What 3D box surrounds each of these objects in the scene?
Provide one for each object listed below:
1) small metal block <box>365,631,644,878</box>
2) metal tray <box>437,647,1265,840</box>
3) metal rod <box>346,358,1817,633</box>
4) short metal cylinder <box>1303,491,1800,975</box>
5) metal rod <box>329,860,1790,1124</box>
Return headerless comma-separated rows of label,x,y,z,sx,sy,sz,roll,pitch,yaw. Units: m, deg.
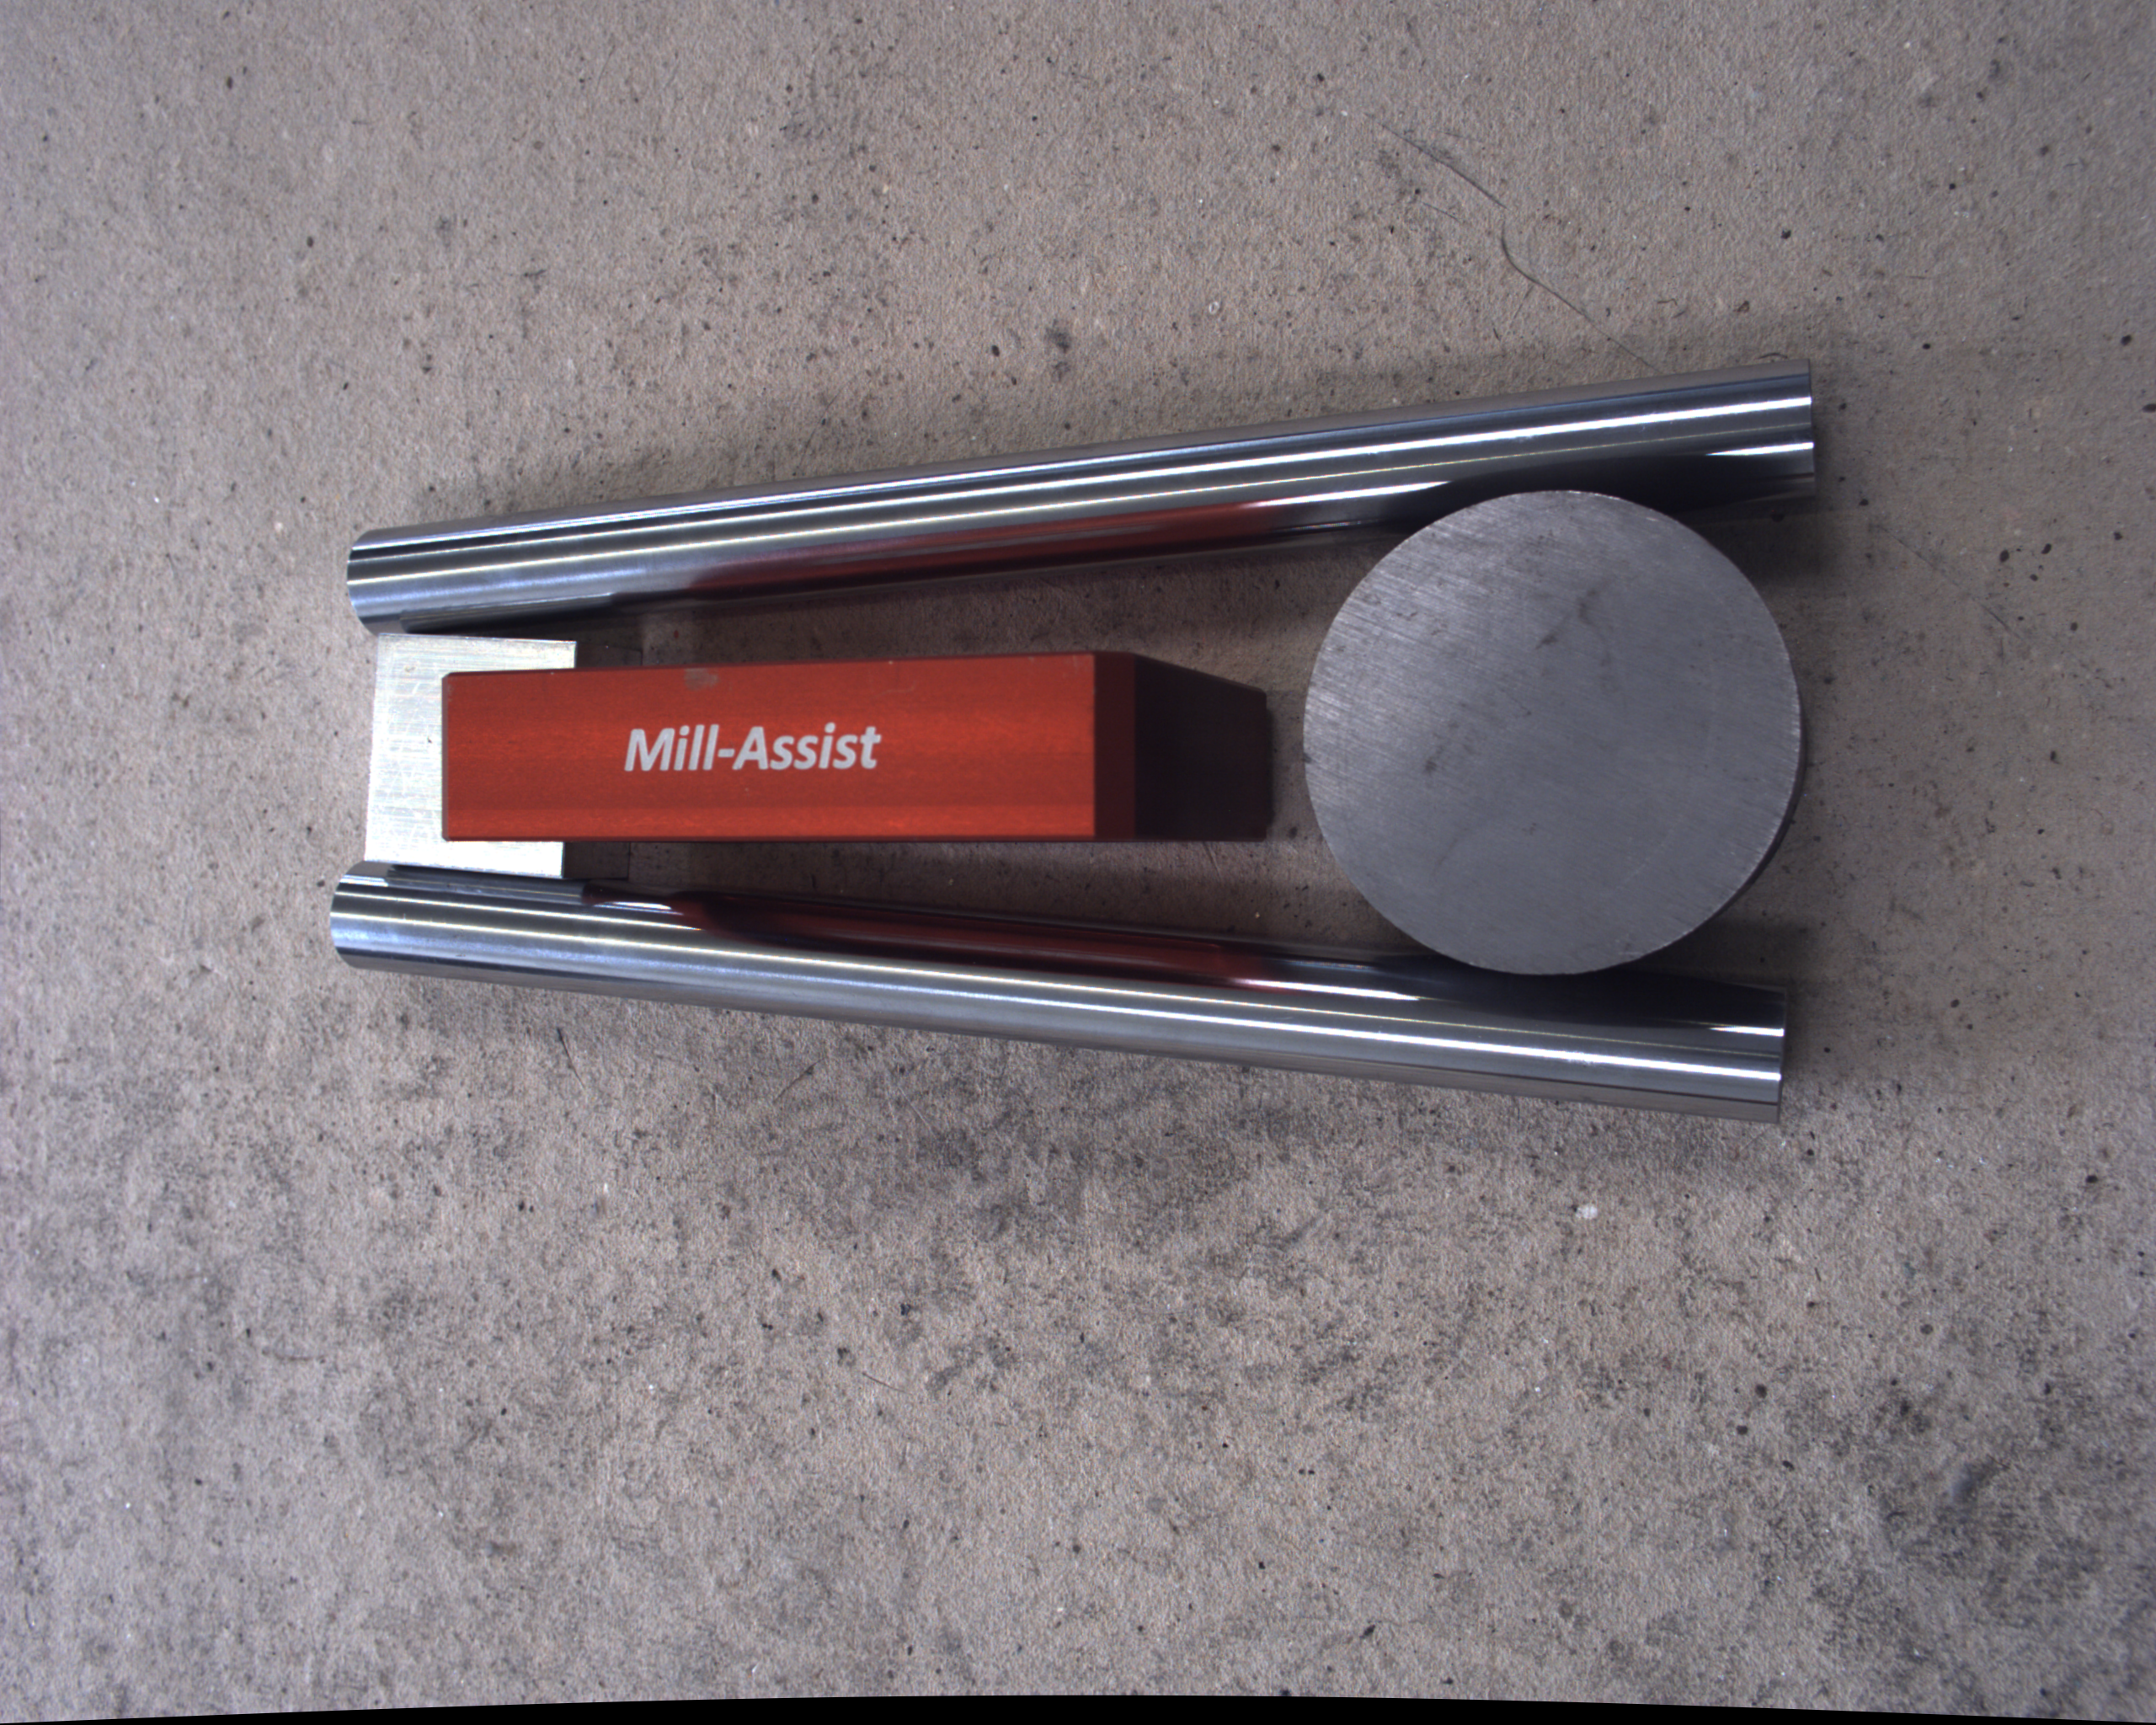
small metal block,-0.125,-0.023,0.455,0.050,0.025,0.050,5,92,19
metal tray,-0.039,-0.019,0.388,0.130,0.090,0.030,0,90,20
metal rod,-0.013,-0.069,0.415,0.301,0.025,0.025,-3,89,19
short metal cylinder,0.085,-0.021,0.366,0.080,0.050,0.079,0,90,20
metal rod,-0.017,0.022,0.416,0.301,0.025,0.025,5,92,19
